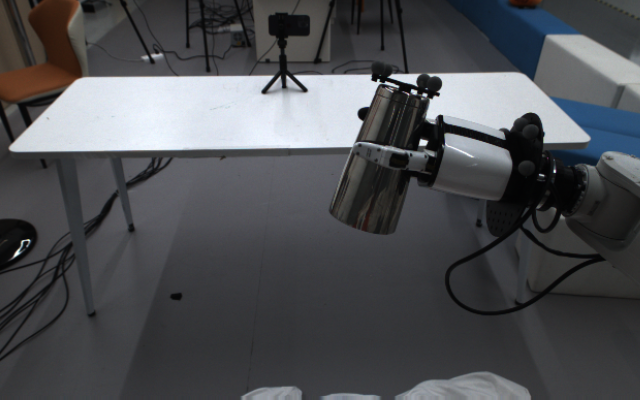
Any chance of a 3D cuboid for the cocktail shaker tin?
[{"bbox_3d":[0.079,-0.054,0.610,0.093,0.170,0.093,15,17,-5],"label":"cocktail shaker tin"}]
